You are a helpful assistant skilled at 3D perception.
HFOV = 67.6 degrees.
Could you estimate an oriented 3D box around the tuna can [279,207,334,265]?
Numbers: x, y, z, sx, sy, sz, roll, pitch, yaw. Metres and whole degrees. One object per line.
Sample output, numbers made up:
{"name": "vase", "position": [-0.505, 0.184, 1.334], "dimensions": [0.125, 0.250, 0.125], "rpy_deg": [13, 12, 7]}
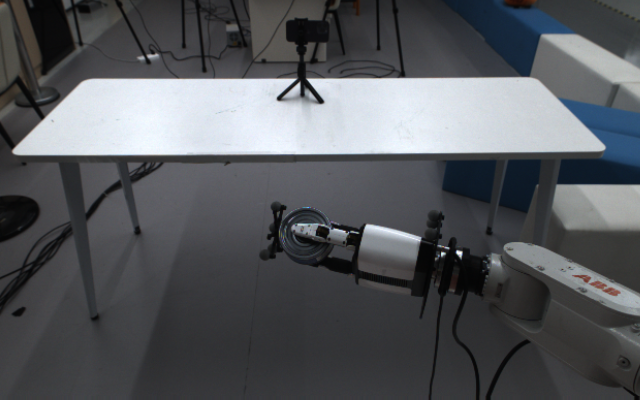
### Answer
{"name": "tuna can", "position": [-0.018, 0.054, 0.747], "dimensions": [0.085, 0.034, 0.085], "rpy_deg": [-2, 69, 6]}
